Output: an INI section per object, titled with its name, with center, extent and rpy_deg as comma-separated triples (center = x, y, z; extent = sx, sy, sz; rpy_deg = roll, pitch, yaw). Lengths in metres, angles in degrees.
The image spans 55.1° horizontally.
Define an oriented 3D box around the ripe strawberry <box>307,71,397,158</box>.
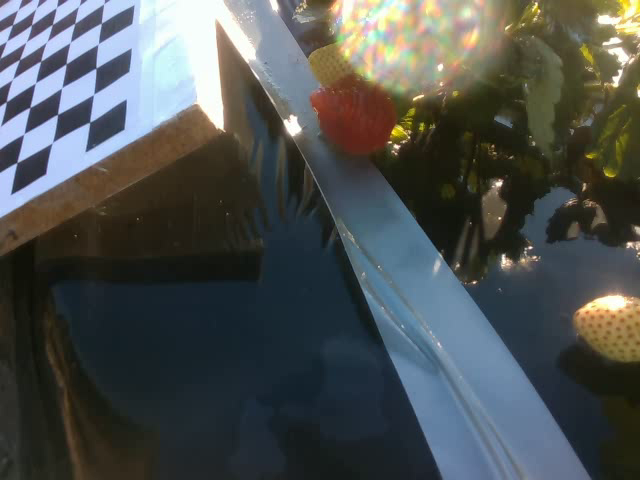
[ripe strawberry]
center = 0.013, -0.066, 0.306
extent = 0.045, 0.049, 0.063
rpy_deg = -7, -7, 34
